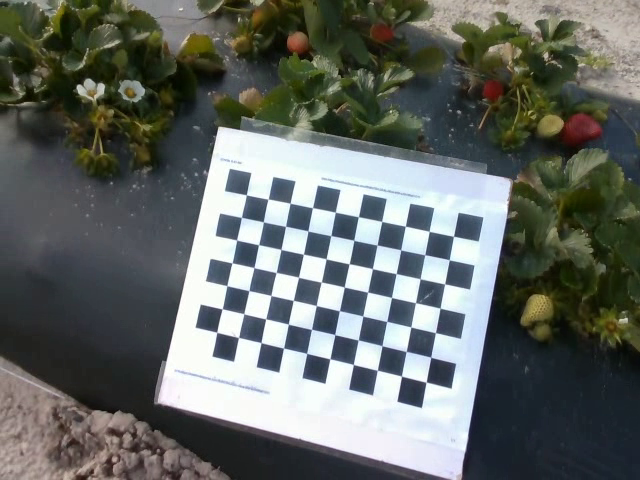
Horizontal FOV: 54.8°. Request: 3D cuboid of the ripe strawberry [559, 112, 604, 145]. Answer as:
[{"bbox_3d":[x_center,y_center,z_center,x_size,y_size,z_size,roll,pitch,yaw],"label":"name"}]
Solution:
[{"bbox_3d":[0.358,-0.149,0.839,0.048,0.051,0.055,45,0,-24],"label":"ripe strawberry"}]
